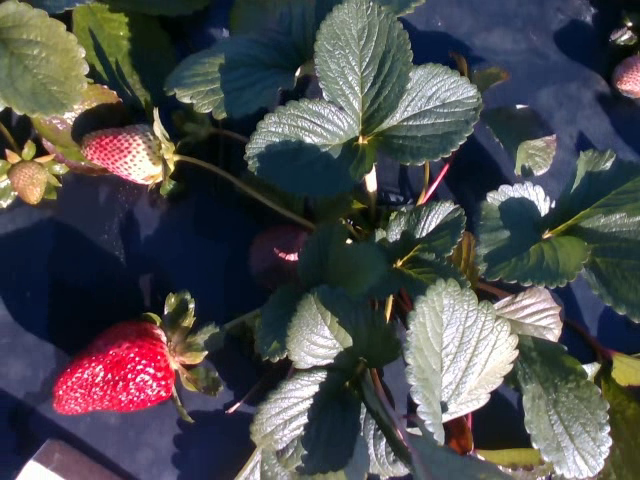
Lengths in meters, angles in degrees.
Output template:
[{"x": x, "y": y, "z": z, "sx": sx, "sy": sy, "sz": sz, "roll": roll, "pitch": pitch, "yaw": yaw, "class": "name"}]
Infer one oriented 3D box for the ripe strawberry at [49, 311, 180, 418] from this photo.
[{"x": -0.094, "y": 0.061, "z": 0.282, "sx": 0.058, "sy": 0.066, "sz": 0.061, "roll": 3, "pitch": 24, "yaw": 36, "class": "ripe strawberry"}]
